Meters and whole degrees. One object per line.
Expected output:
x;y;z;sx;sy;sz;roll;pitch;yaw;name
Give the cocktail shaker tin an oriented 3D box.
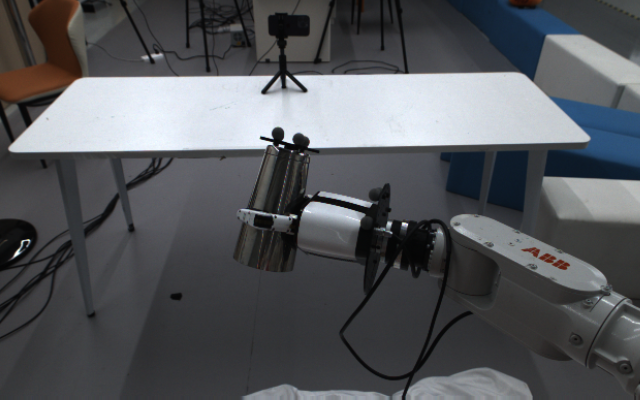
-0.064;0.010;0.710;0.093;0.170;0.093;13;4;-1;cocktail shaker tin
